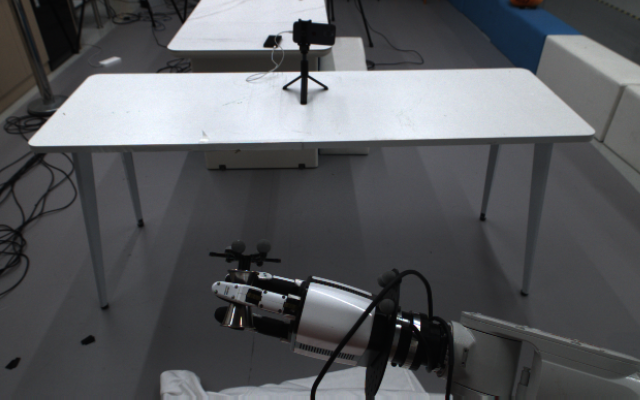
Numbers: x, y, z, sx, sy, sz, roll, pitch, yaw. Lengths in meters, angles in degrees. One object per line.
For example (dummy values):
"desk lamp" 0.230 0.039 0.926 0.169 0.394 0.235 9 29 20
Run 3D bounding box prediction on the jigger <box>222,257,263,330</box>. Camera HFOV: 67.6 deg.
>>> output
"jigger" -0.098 0.121 0.596 0.043 0.043 0.071 3 75 2
